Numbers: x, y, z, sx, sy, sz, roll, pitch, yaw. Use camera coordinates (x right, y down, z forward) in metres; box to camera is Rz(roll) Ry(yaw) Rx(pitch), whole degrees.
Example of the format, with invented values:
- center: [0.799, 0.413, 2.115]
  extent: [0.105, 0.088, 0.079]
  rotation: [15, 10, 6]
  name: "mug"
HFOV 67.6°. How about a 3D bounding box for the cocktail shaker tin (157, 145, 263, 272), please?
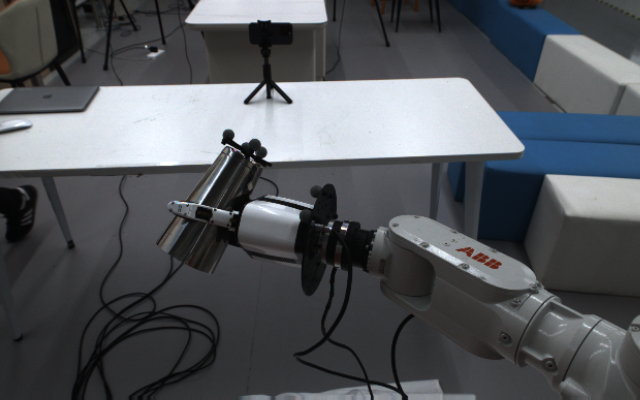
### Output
- center: [-0.154, 0.008, 0.708]
  extent: [0.093, 0.093, 0.170]
  rotation: [26, 83, 31]
  name: "cocktail shaker tin"
